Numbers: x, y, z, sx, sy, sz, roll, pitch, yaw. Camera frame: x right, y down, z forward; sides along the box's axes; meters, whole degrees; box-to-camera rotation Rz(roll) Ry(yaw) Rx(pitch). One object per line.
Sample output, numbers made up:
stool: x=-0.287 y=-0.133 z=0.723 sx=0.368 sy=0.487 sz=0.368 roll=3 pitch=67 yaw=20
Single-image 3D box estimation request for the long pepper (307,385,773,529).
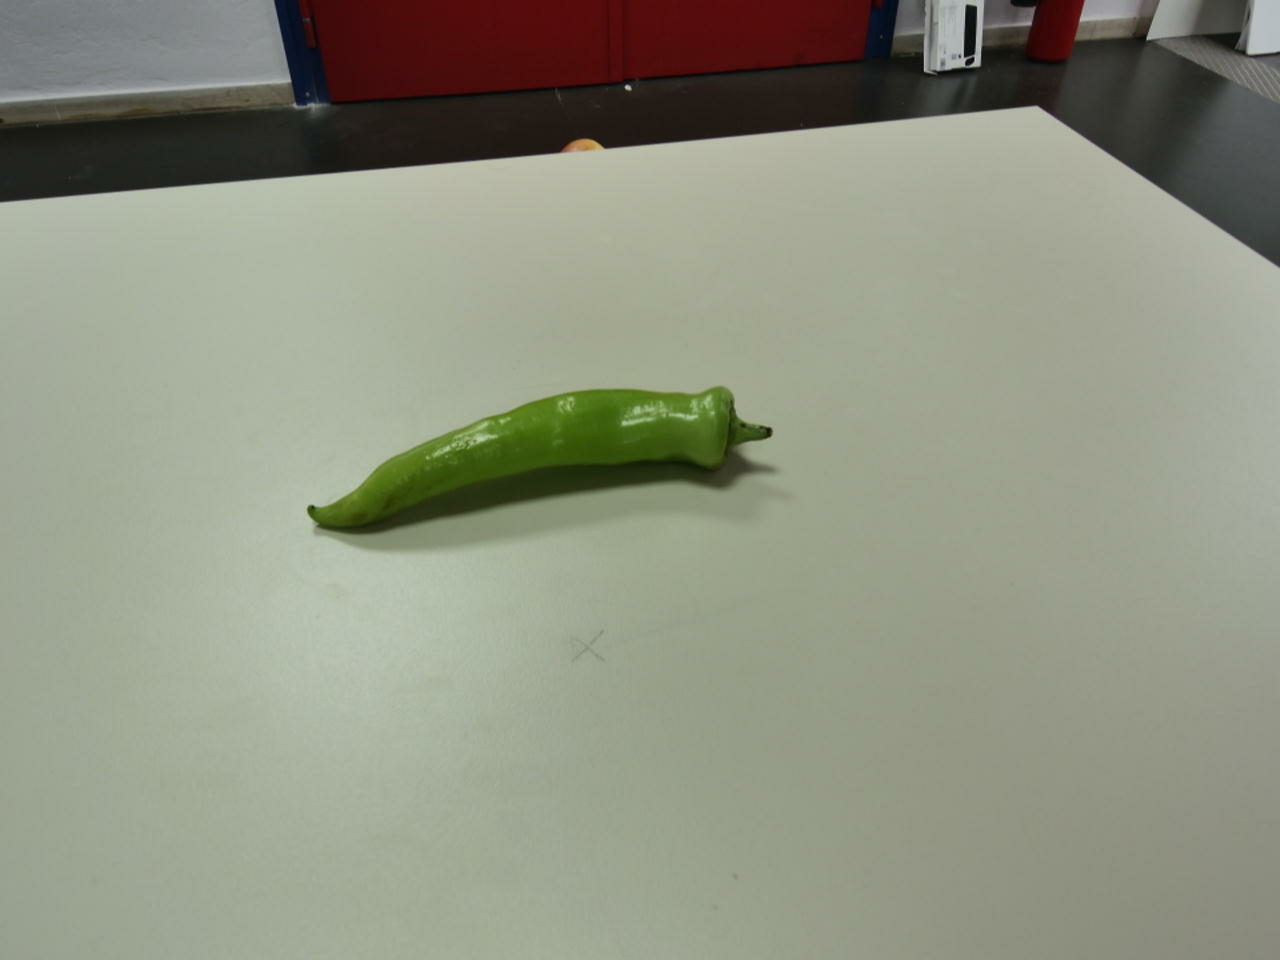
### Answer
long pepper: x=-0.042 y=-0.015 z=0.427 sx=0.197 sy=0.038 sz=0.046 roll=-7 pitch=39 yaw=-9
